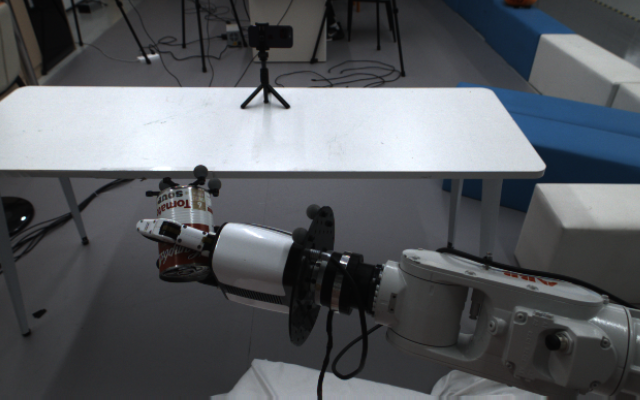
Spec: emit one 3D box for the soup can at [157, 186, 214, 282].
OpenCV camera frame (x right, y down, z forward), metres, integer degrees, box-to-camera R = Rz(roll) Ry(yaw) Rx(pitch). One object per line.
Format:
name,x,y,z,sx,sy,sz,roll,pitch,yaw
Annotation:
soup can,-0.160,0.042,0.585,0.067,0.067,0.101,-6,67,-12
